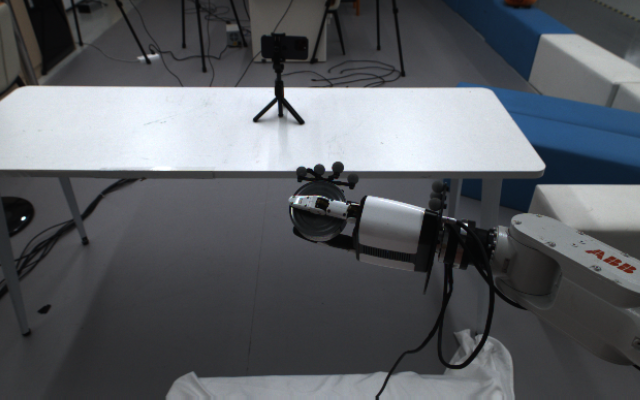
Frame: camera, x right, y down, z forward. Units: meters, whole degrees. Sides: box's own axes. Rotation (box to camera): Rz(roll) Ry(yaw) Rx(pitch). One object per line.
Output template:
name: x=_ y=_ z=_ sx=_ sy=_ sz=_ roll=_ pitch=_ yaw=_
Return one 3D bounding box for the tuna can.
tuna can: x=0.000 y=0.016 z=0.712 sx=0.085 sy=0.034 sz=0.085 roll=-3 pitch=69 yaw=7
